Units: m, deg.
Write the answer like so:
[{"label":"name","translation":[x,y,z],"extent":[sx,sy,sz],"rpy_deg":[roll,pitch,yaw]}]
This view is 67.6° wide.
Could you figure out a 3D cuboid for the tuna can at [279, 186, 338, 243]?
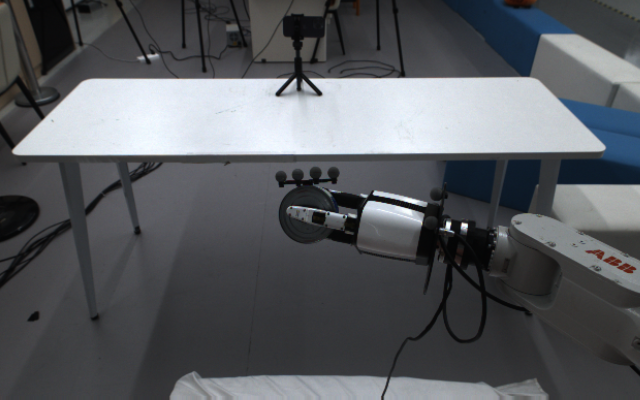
[{"label":"tuna can","translation":[-0.014,0.025,0.711],"extent":[0.085,0.085,0.034],"rpy_deg":[10,3,11]}]
